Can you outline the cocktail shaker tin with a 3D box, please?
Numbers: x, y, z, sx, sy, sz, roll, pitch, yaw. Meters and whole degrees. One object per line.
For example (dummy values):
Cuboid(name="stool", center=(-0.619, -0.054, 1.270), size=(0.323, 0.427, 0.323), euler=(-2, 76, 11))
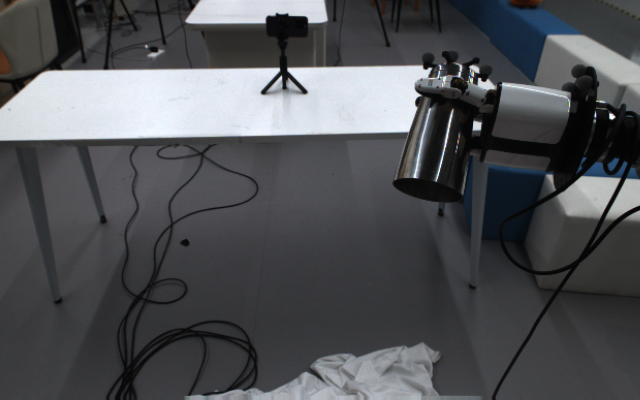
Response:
Cuboid(name="cocktail shaker tin", center=(0.164, -0.095, 0.647), size=(0.093, 0.093, 0.170), euler=(13, 77, 15))
